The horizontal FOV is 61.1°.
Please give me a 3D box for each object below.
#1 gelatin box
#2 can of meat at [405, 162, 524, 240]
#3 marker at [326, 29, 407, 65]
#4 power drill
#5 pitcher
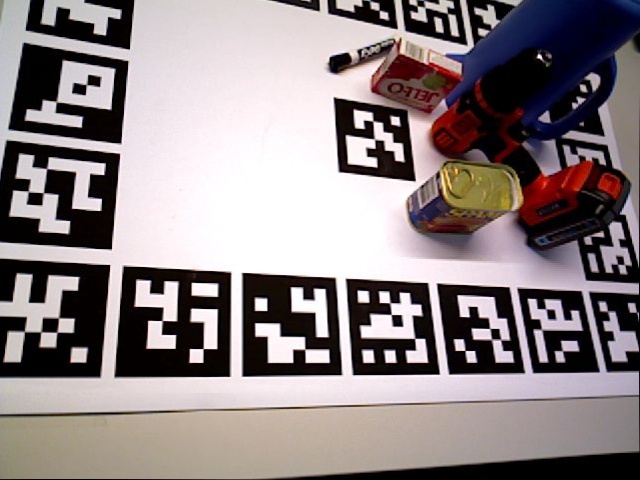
[{"bbox_3d":[0.120,-0.194,0.657,0.088,0.074,0.030,16,70,-17],"label":"gelatin box"},{"bbox_3d":[0.157,-0.040,0.608,0.100,0.085,0.057,4,68,-20],"label":"can of meat"},{"bbox_3d":[0.058,-0.241,0.677,0.119,0.020,0.019,-24,82,-25],"label":"marker"},{"bbox_3d":[0.233,-0.112,0.609,0.187,0.188,0.056,40,64,-10],"label":"power drill"},{"bbox_3d":[0.281,-0.213,0.636,0.188,0.247,0.131,32,66,0],"label":"pitcher"}]
